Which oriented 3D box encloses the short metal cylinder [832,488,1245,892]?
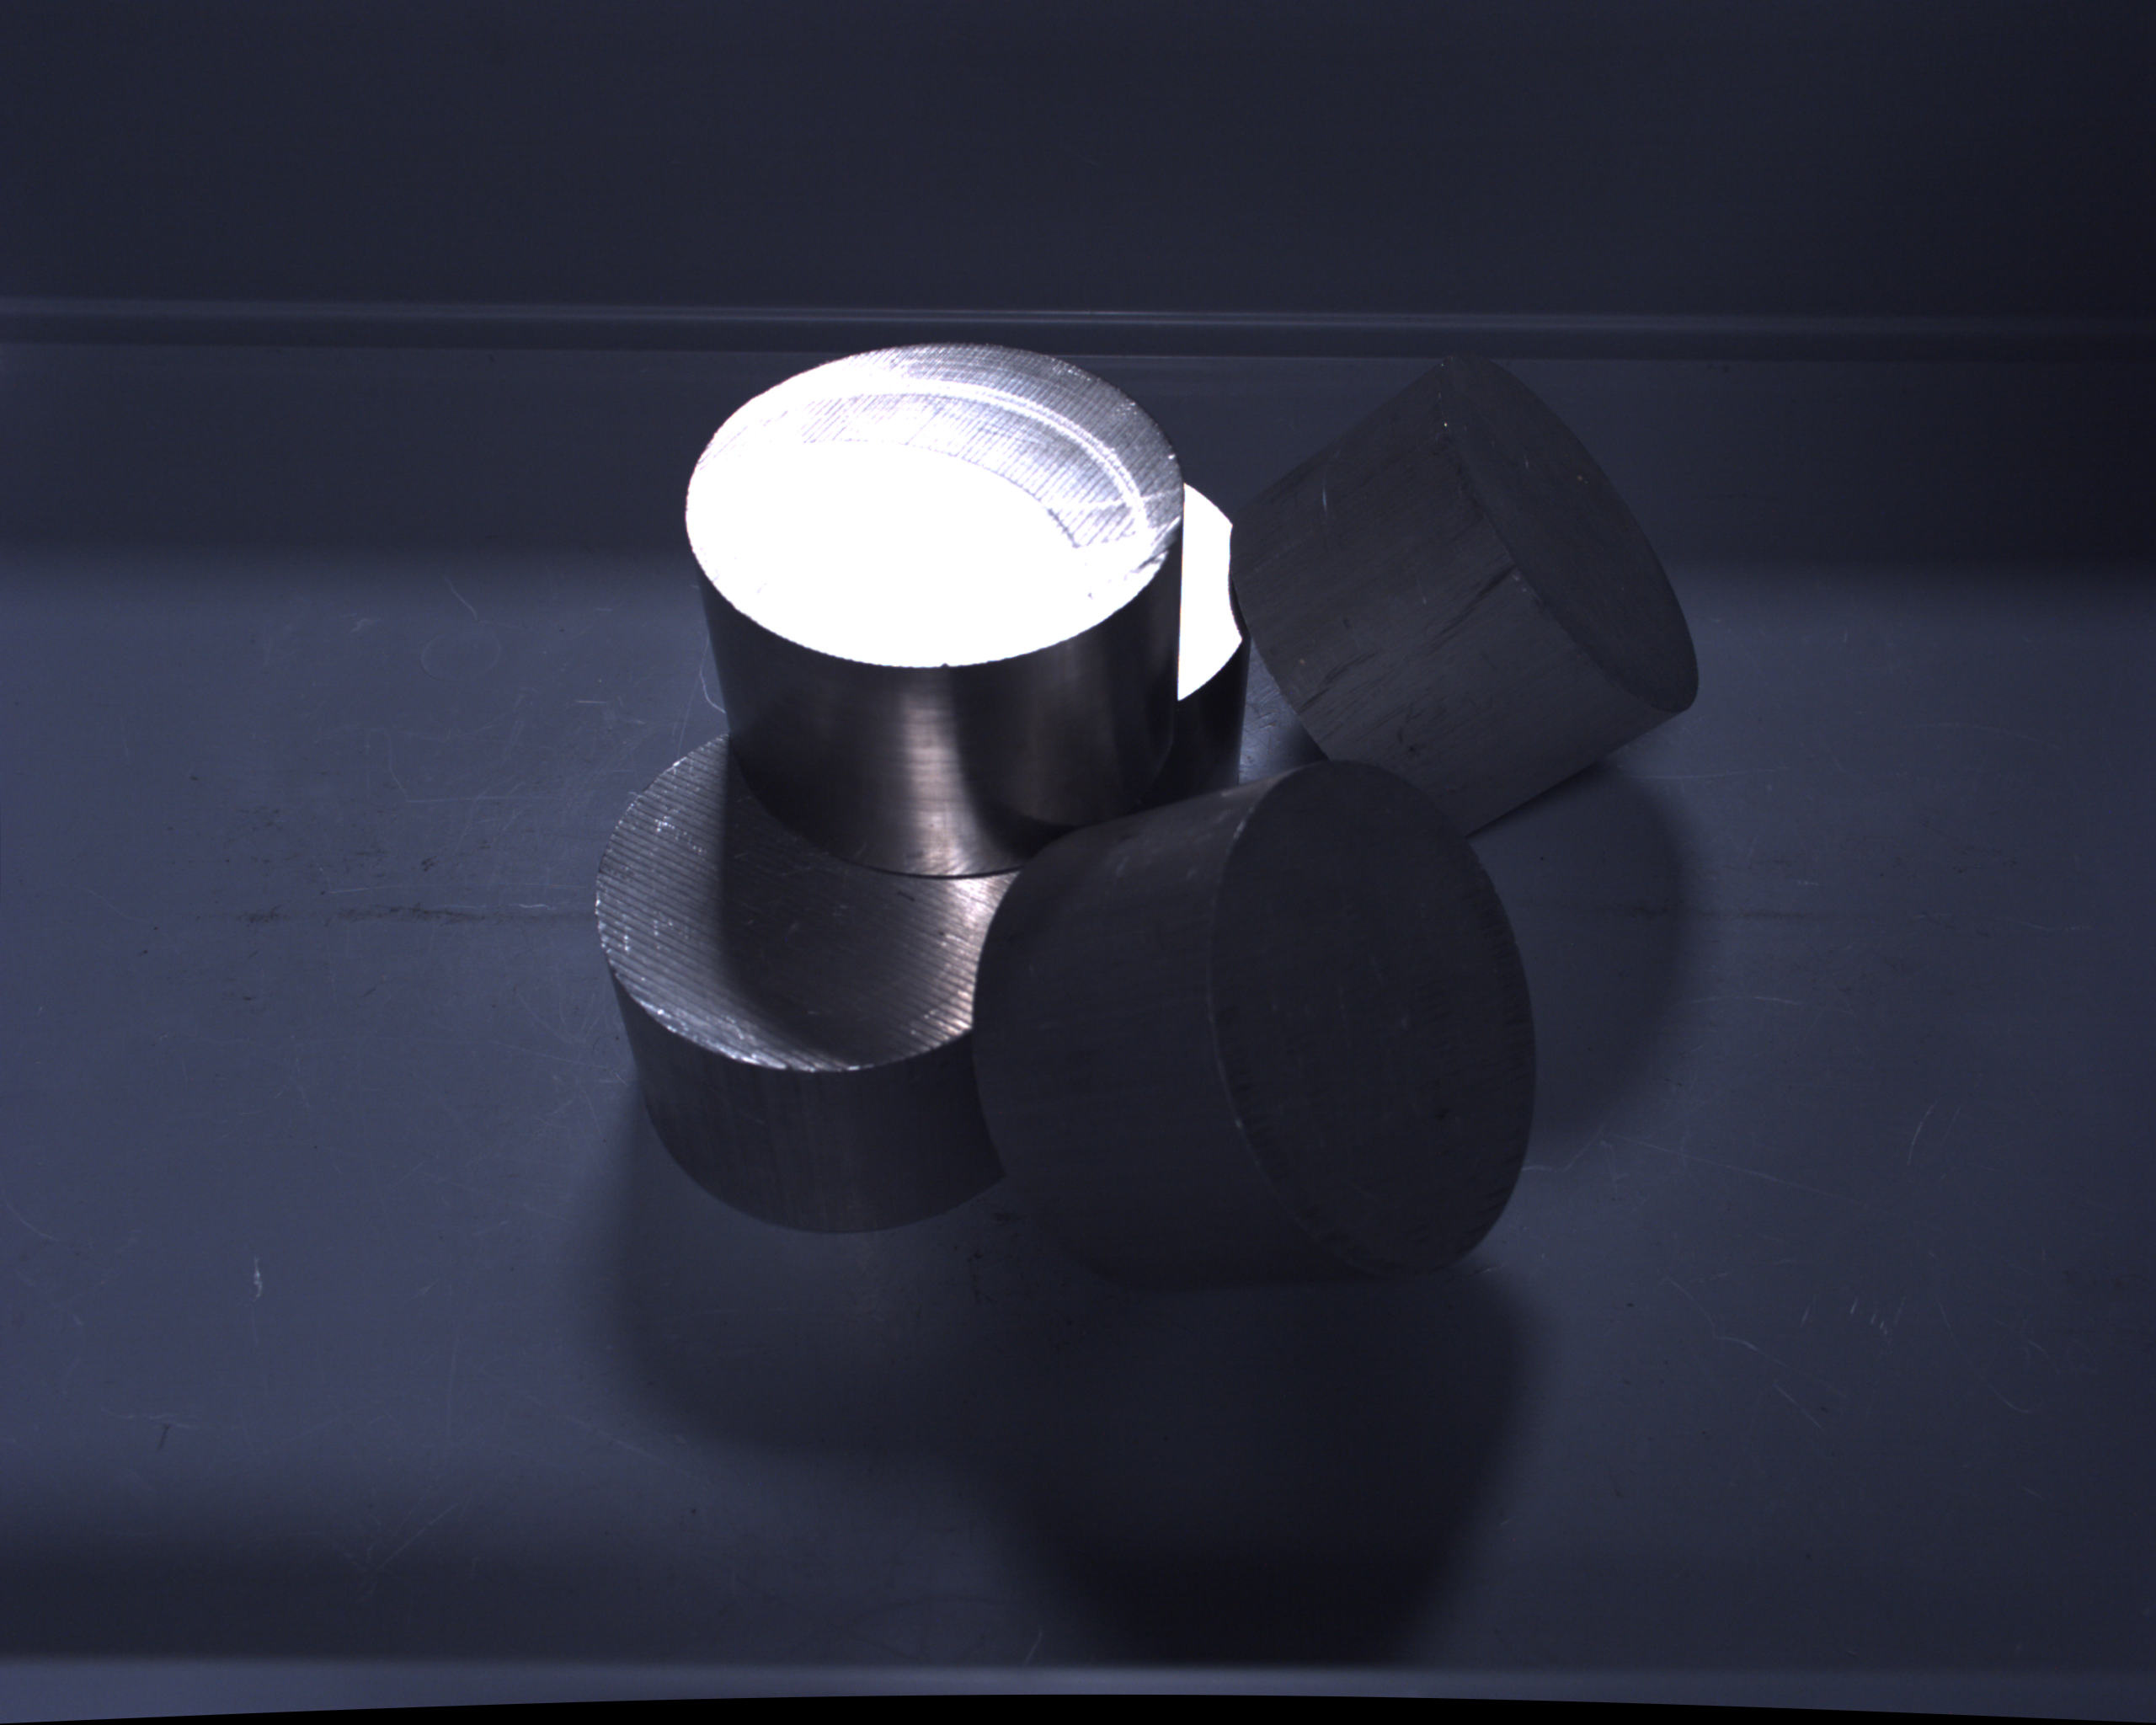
[{"bbox_3d":[-0.007,-0.038,0.418,0.081,0.050,0.080,0,50,0],"label":"short metal cylinder"}]

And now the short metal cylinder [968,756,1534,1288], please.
[{"bbox_3d":[0.029,0.027,0.336,0.050,0.080,0.080,-15,35,44],"label":"short metal cylinder"}]

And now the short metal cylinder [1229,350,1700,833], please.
[{"bbox_3d":[0.075,-0.051,0.404,0.080,0.050,0.080,33,38,-31],"label":"short metal cylinder"}]

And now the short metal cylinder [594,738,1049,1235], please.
[{"bbox_3d":[-0.041,0.019,0.371,0.081,0.050,0.080,0,50,0],"label":"short metal cylinder"}]

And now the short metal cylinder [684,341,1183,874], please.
[{"bbox_3d":[-0.023,-0.044,0.357,0.081,0.050,0.080,0,50,0],"label":"short metal cylinder"}]
